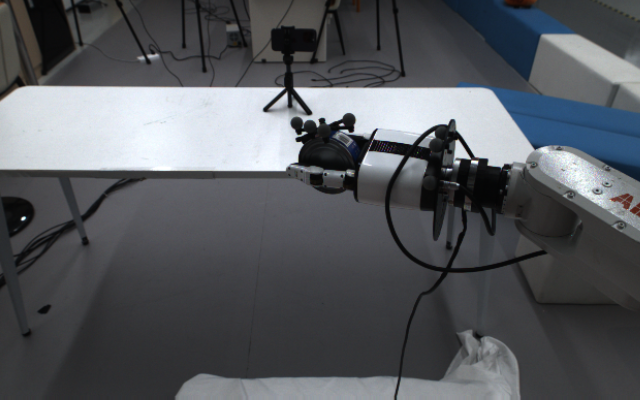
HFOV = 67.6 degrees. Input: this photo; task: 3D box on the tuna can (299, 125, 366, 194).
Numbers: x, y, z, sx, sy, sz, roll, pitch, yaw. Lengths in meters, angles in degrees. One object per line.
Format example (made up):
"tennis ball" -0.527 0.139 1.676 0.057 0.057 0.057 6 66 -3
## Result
"tuna can" 0.017 -0.054 0.672 0.085 0.085 0.034 17 36 20
